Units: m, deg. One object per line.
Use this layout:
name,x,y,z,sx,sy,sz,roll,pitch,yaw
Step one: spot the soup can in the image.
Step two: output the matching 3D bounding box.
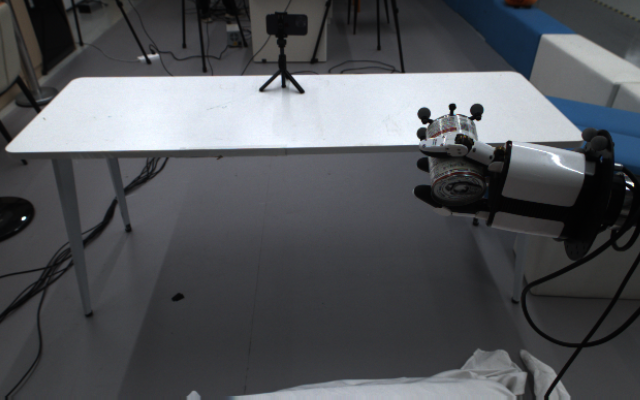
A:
soup can,0.175,-0.052,0.626,0.067,0.067,0.101,3,57,1
